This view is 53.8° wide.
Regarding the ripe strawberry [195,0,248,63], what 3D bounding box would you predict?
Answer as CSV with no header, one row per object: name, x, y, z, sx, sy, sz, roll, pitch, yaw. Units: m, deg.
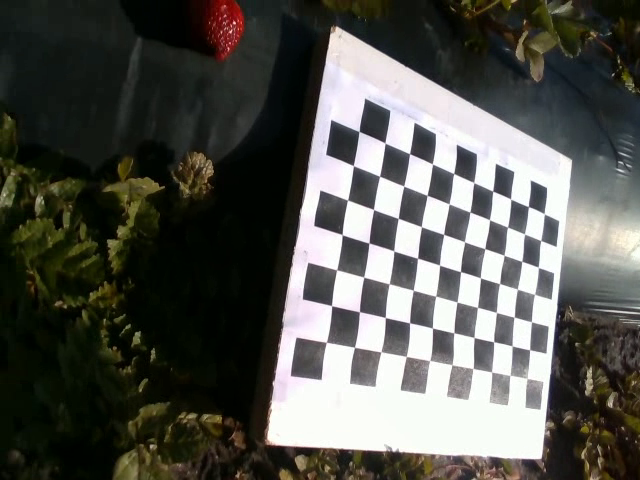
ripe strawberry,-0.057,-0.115,0.358,0.040,0.044,0.036,-7,-11,-36
